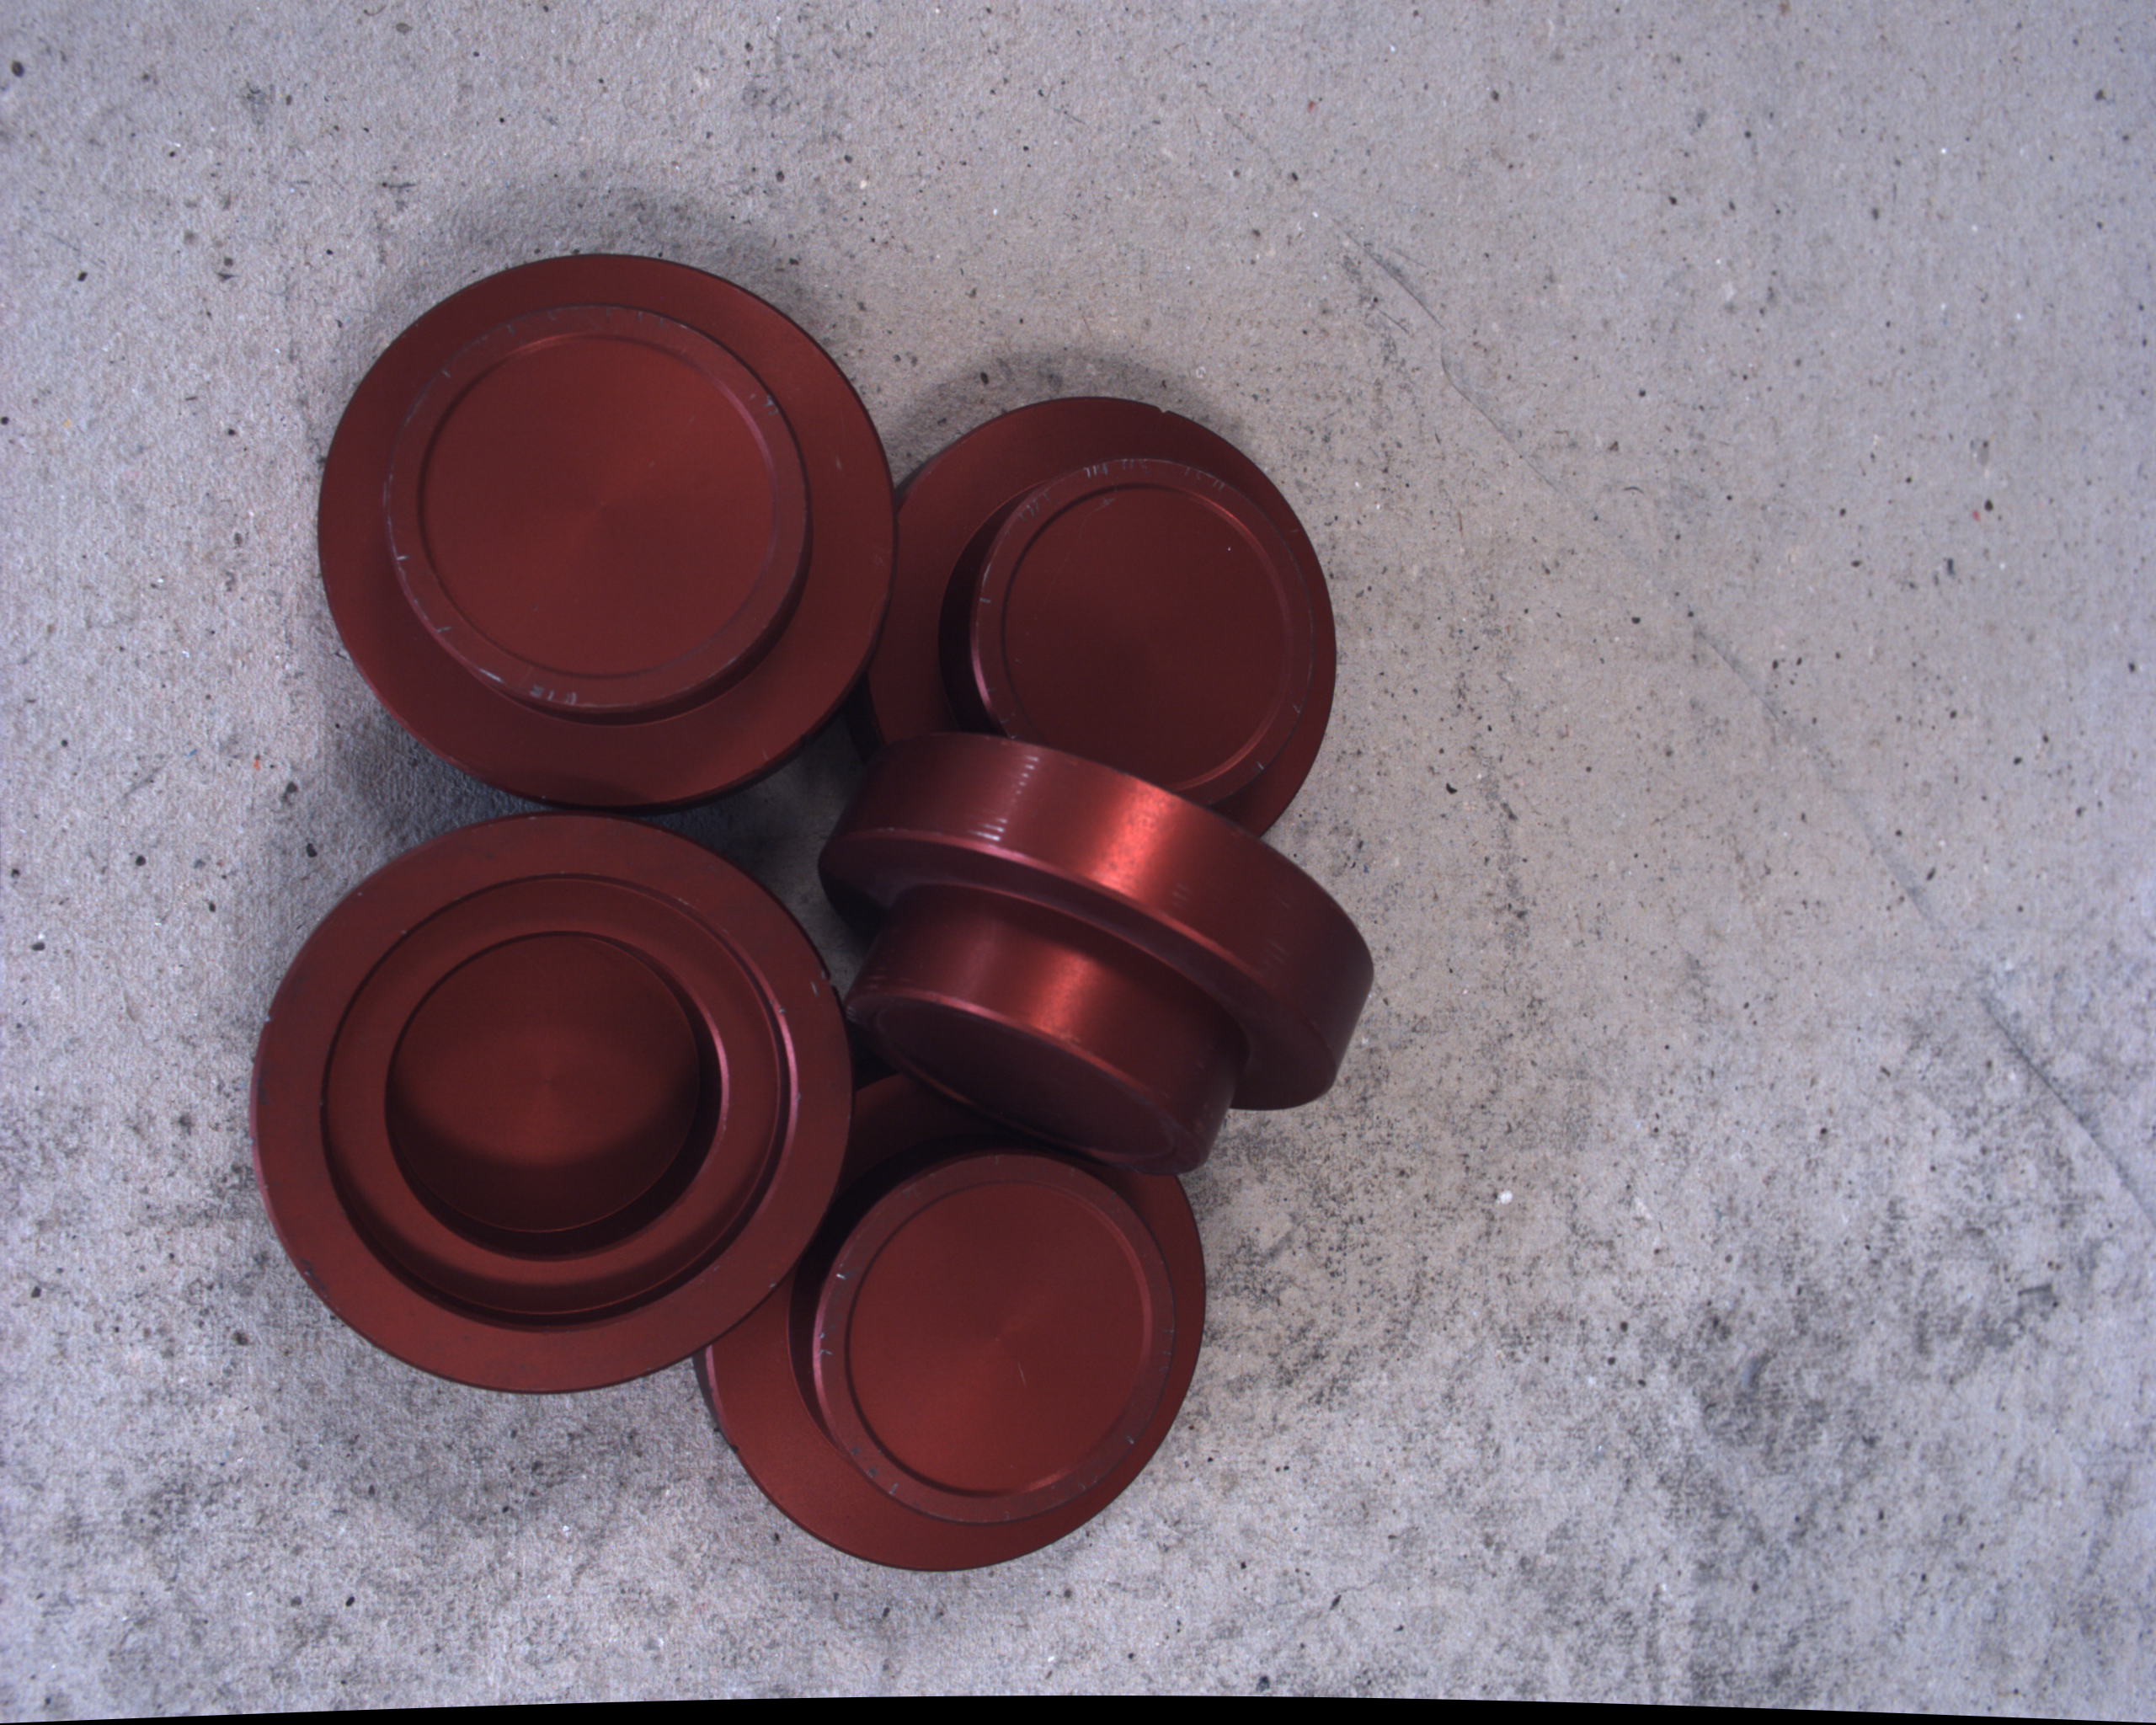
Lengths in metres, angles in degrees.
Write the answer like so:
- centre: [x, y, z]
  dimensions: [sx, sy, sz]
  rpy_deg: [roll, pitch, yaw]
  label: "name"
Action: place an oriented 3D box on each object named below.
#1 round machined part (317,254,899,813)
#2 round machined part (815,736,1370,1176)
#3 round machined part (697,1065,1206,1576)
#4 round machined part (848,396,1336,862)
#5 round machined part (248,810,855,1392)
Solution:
- centre: [-0.080, -0.057, 0.360]
  dimensions: [0.099, 0.042, 0.097]
  rpy_deg: [0, 88, -7]
  label: "round machined part"
- centre: [-0.002, 0.022, 0.368]
  dimensions: [0.098, 0.098, 0.042]
  rpy_deg: [31, 67, -18]
  label: "round machined part"
- centre: [-0.021, 0.085, 0.393]
  dimensions: [0.099, 0.042, 0.097]
  rpy_deg: [1, 88, -21]
  label: "round machined part"
- centre: [0.006, -0.042, 0.403]
  dimensions: [0.099, 0.042, 0.097]
  rpy_deg: [0, 89, -21]
  label: "round machined part"
- centre: [-0.092, 0.039, 0.367]
  dimensions: [0.099, 0.042, 0.097]
  rpy_deg: [-1, 92, -20]
  label: "round machined part"
